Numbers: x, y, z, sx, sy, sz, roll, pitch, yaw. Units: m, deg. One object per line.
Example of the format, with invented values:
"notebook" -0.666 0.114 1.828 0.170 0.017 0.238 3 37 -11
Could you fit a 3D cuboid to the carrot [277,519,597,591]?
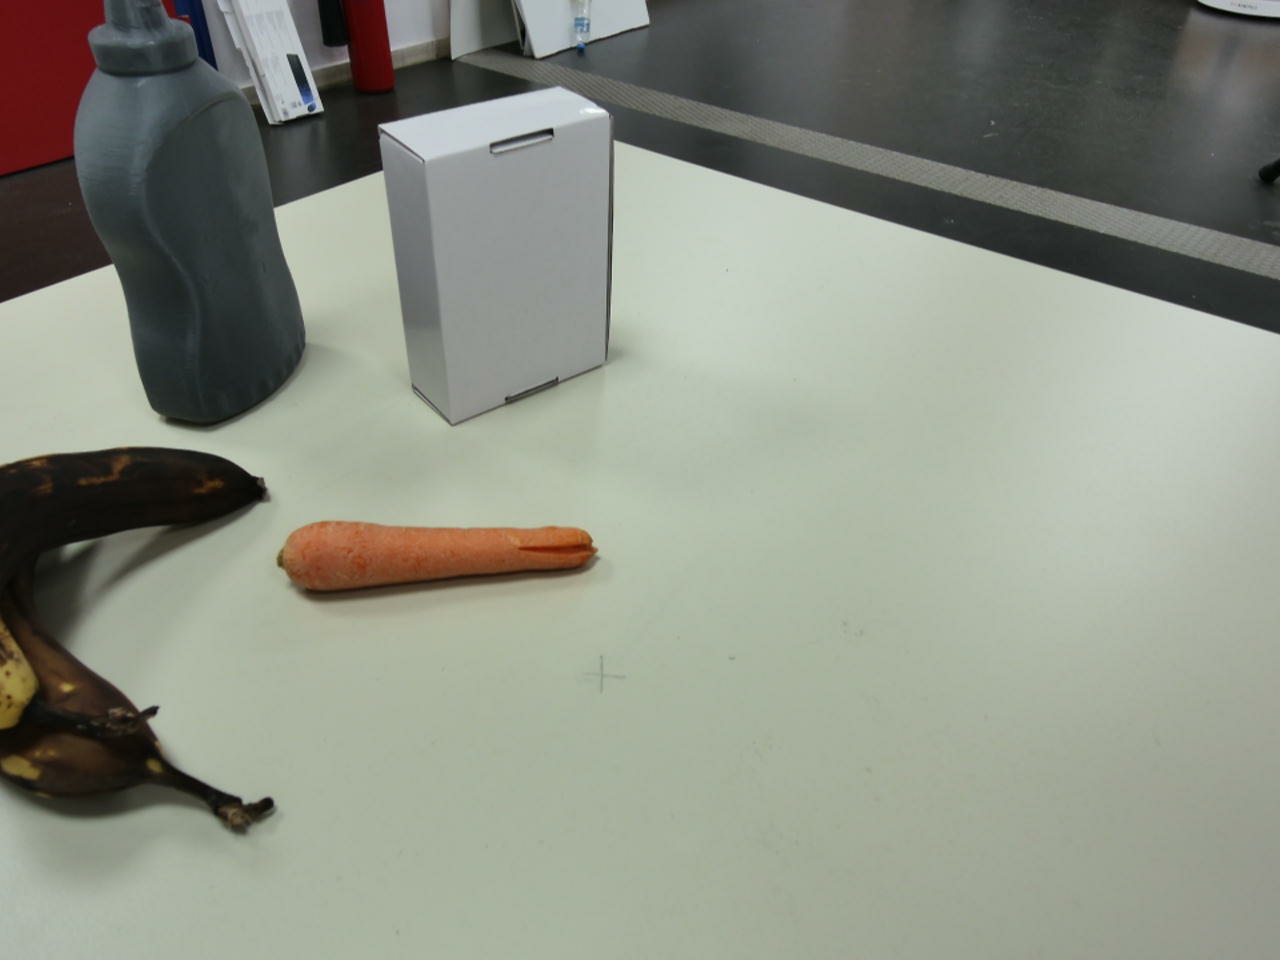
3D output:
"carrot" -0.086 0.030 0.435 0.136 0.032 0.030 -4 36 -5
